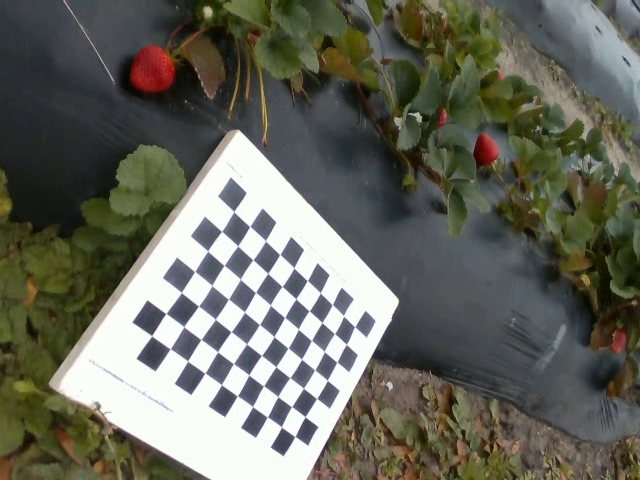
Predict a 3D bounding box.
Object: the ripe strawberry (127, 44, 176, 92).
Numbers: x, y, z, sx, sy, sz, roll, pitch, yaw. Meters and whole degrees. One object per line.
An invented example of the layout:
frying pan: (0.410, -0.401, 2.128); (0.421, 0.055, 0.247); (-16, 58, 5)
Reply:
ripe strawberry: (-0.095, -0.096, 0.363); (0.022, 0.029, 0.033); (-3, 36, 52)
